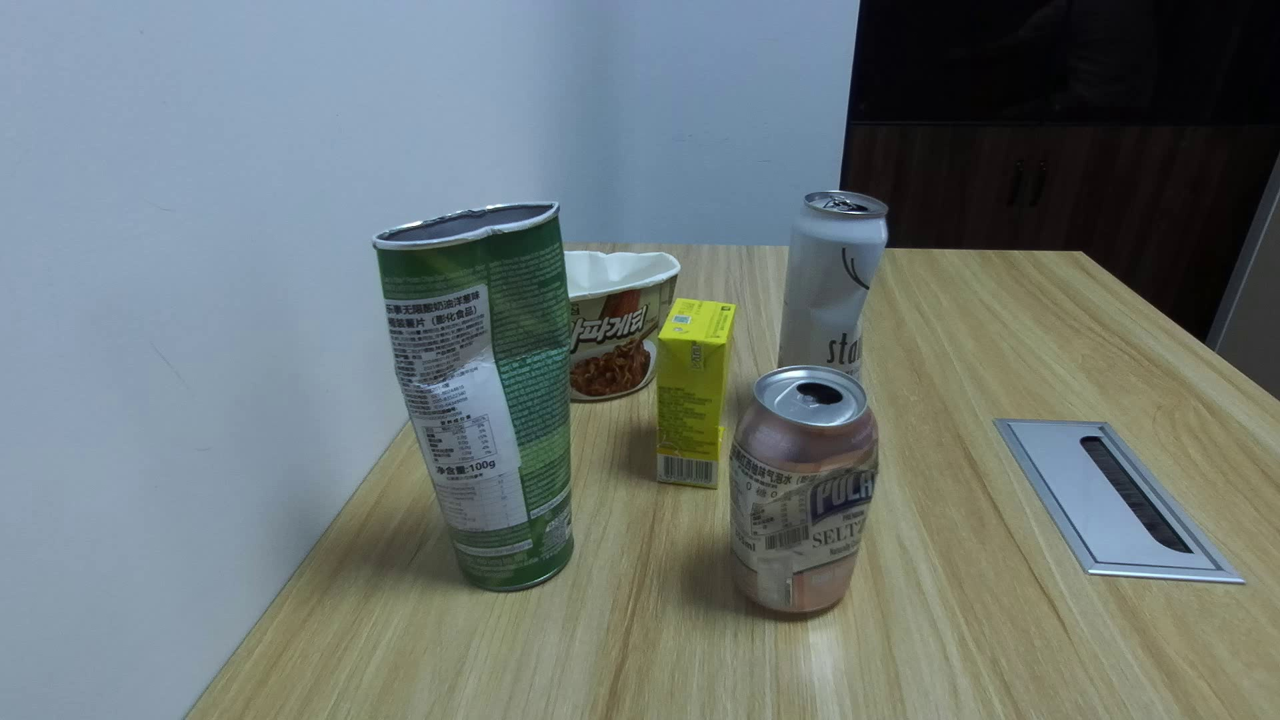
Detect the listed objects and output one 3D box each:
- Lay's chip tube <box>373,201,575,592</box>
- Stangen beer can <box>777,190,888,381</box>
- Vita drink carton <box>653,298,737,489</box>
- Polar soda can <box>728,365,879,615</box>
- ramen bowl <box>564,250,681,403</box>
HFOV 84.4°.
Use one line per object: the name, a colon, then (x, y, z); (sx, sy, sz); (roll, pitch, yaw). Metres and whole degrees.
Lay's chip tube: (-0.074, 0.025, 0.372); (0.069, 0.199, 0.075); (4, 28, 10)
Stangen beer can: (0.136, -0.031, 0.498); (0.070, 0.173, 0.069); (-16, 31, -29)
Vita drink carton: (0.039, 0.019, 0.470); (0.043, 0.109, 0.076); (5, 29, 13)
Polar soda can: (0.084, 0.068, 0.363); (0.074, 0.122, 0.067); (5, 31, 12)
ramen bowl: (-0.029, -0.034, 0.589); (0.134, 0.097, 0.113); (-5, 28, -7)
